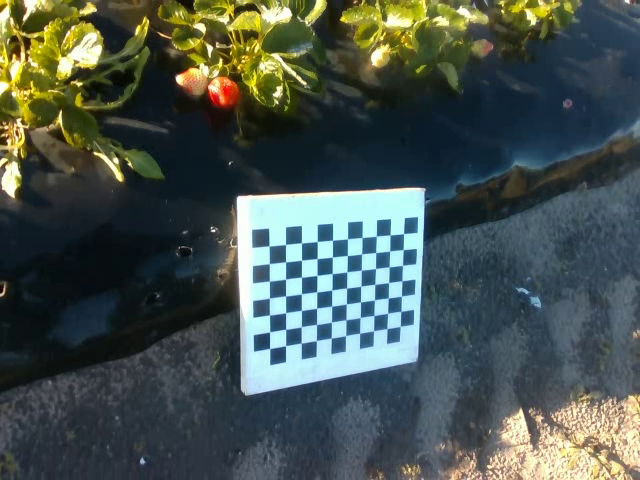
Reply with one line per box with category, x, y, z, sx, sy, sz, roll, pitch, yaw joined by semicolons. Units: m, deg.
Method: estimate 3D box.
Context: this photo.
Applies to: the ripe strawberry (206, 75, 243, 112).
ripe strawberry;-0.112;-0.170;0.698;0.040;0.037;0.055;-16;20;4
